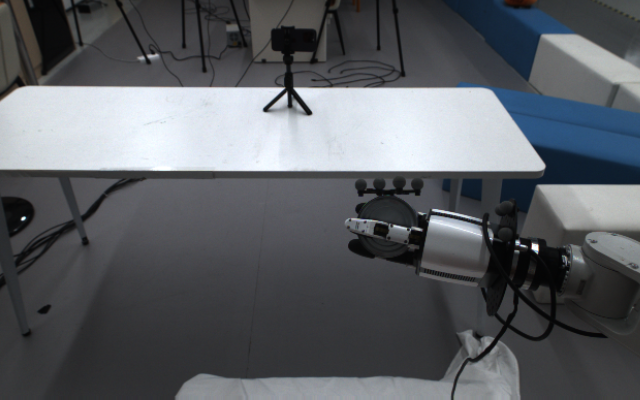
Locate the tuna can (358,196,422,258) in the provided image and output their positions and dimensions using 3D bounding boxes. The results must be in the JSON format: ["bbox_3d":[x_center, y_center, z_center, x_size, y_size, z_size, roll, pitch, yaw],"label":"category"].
[{"bbox_3d":[0.096,0.035,0.677,0.085,0.085,0.034,15,2,18],"label":"tuna can"}]
